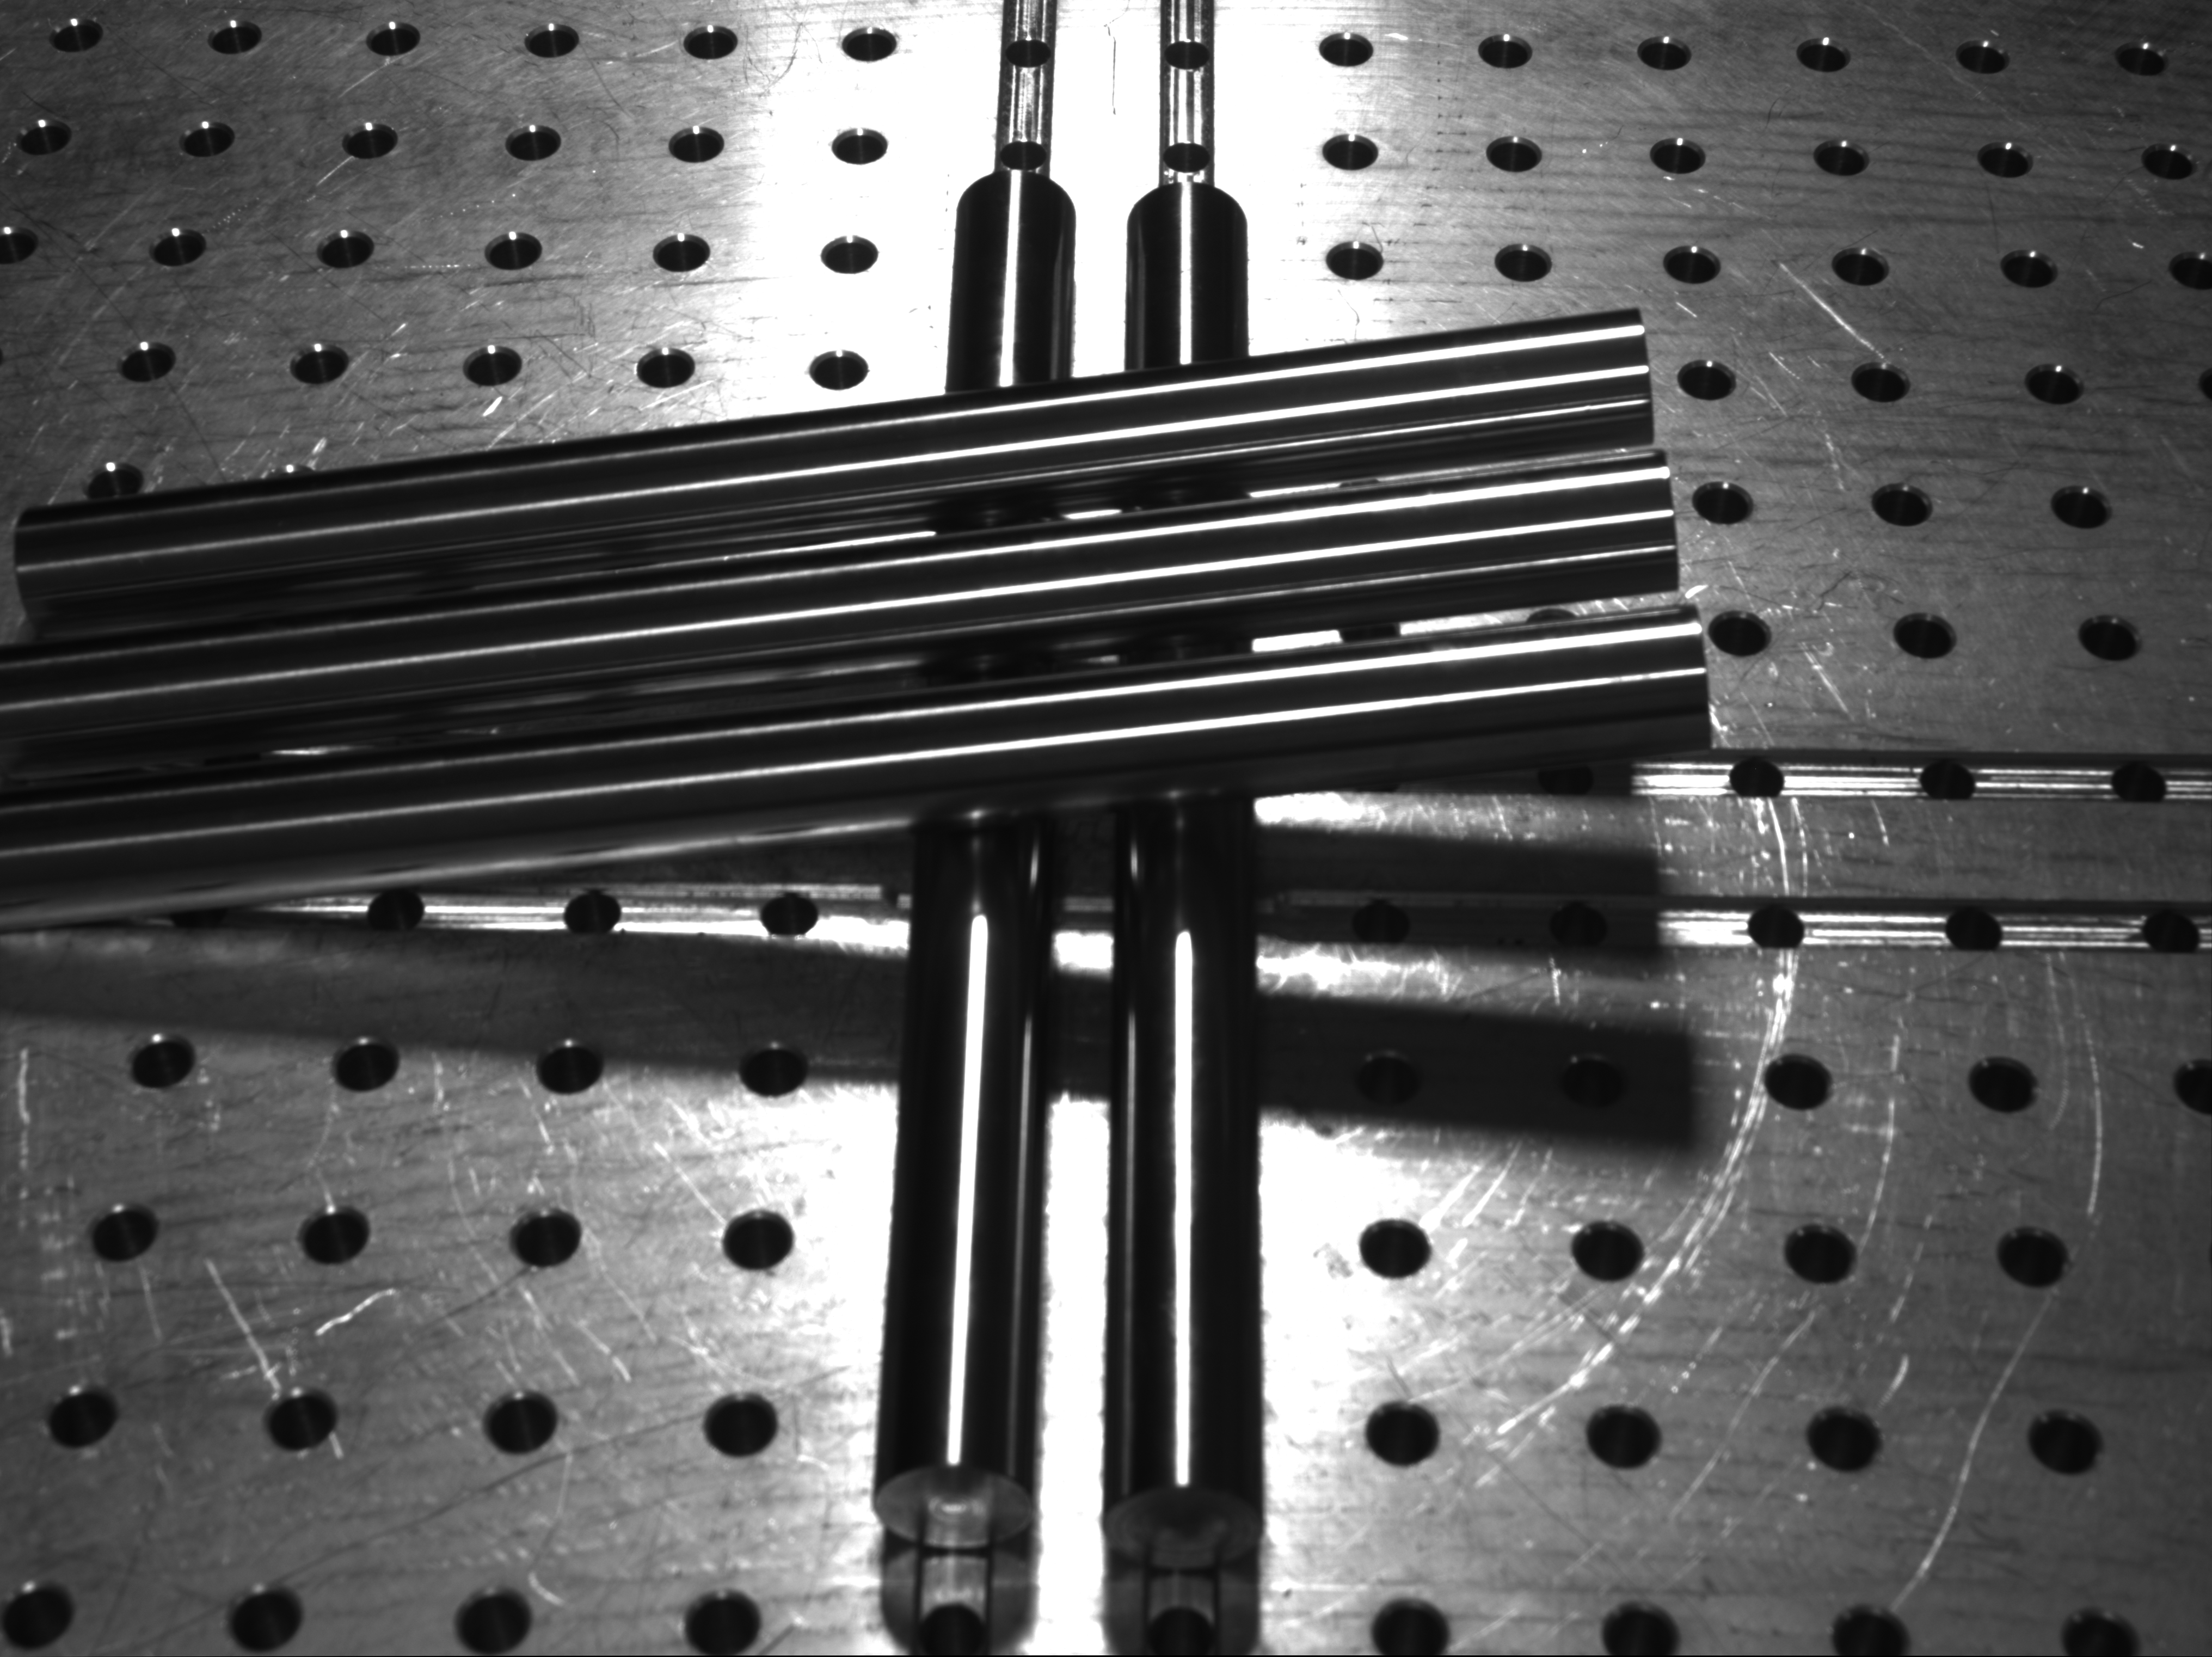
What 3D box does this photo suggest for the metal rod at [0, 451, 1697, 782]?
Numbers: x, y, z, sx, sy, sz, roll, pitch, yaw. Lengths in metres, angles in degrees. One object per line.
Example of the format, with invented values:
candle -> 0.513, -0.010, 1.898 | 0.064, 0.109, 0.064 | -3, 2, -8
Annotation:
metal rod -> -0.047, -0.037, 0.649 | 0.300, 0.025, 0.025 | -6, 50, 5

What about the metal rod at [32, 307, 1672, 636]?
metal rod -> -0.048, -0.065, 0.673 | 0.300, 0.025, 0.025 | -6, 50, 5

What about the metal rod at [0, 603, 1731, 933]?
metal rod -> -0.046, -0.010, 0.626 | 0.300, 0.025, 0.025 | -6, 50, 6

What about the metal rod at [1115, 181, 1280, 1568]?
metal rod -> 0.017, -0.008, 0.653 | 0.025, 0.025, 0.300 | 1, 50, 1

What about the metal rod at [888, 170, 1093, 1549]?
metal rod -> -0.018, -0.011, 0.655 | 0.025, 0.025, 0.300 | 1, 50, 1
